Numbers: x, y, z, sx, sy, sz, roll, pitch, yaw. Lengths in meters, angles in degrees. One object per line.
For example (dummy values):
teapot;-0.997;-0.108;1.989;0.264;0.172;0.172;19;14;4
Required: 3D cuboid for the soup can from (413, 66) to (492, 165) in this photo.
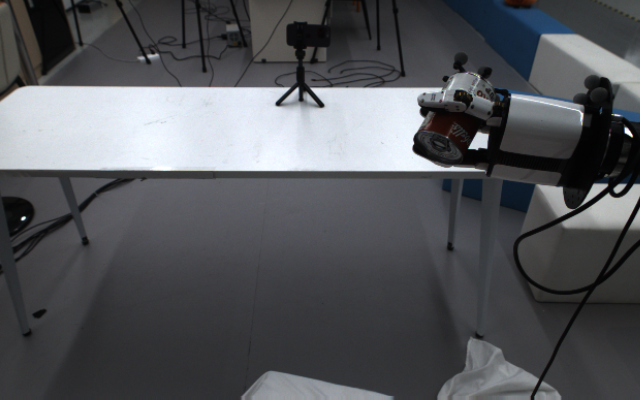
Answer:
soup can;0.176;-0.106;0.622;0.067;0.067;0.101;23;73;28
